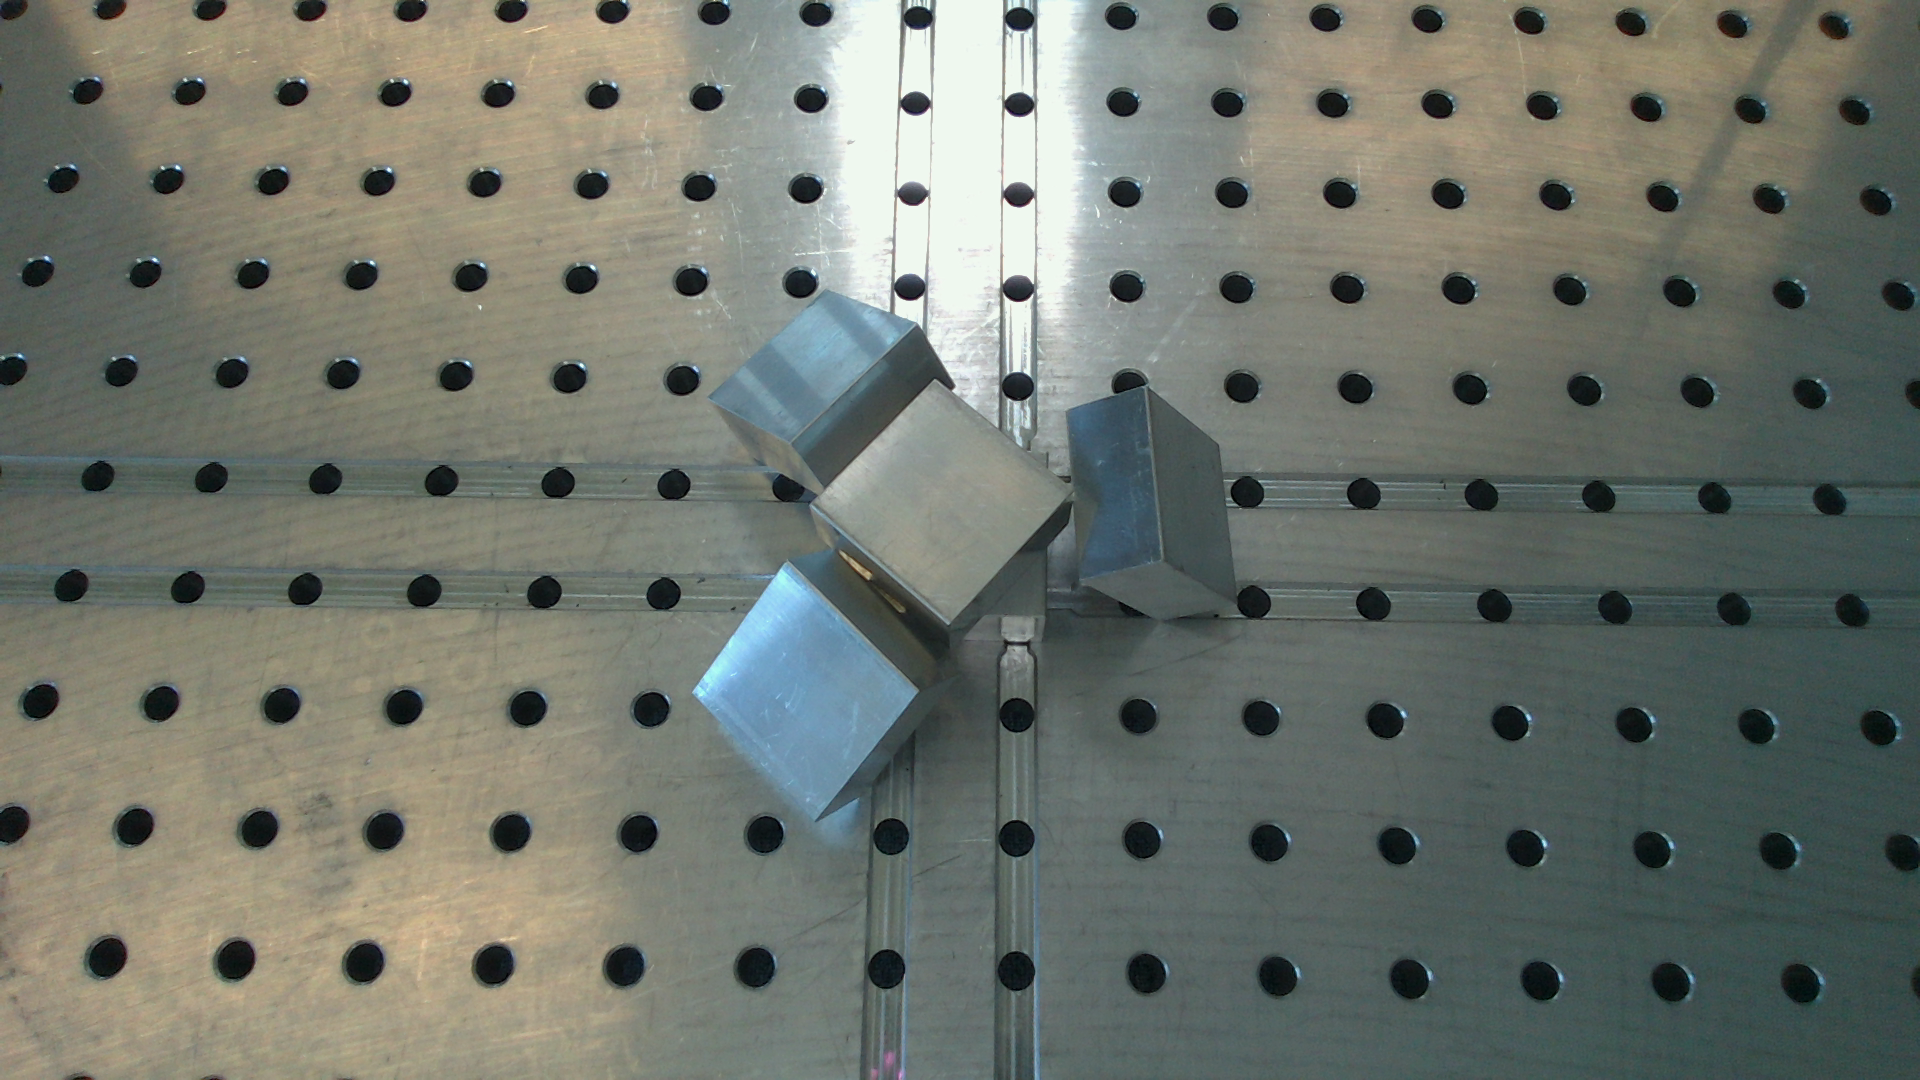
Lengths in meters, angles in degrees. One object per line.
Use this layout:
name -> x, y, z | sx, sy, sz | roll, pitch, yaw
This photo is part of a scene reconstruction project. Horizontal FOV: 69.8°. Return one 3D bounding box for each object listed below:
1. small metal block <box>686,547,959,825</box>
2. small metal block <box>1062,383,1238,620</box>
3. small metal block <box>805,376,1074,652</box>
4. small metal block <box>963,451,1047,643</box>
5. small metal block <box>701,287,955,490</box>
small metal block -> -0.037, 0.038, 0.369 | 0.050, 0.025, 0.050 | 43, 113, 14
small metal block -> 0.054, -0.009, 0.384 | 0.025, 0.050, 0.050 | -15, 67, 30
small metal block -> -0.005, -0.007, 0.373 | 0.050, 0.025, 0.050 | 40, 74, 13
small metal block -> -0.001, 0.002, 0.396 | 0.050, 0.025, 0.050 | 1, 73, 0
small metal block -> -0.039, -0.043, 0.400 | 0.050, 0.025, 0.050 | -45, 40, -15
